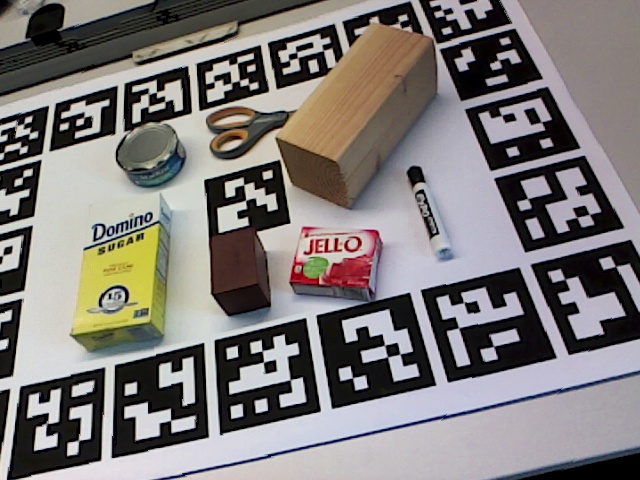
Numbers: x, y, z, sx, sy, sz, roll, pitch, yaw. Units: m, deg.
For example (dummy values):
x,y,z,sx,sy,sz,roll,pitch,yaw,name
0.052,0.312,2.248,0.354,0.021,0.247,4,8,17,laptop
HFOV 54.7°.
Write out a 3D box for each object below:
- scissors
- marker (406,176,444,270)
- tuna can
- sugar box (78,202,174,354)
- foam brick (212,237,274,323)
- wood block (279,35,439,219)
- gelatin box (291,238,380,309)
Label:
x,y,z,sx,sy,sz,roll,pitch,yaw,name
-0.061,-0.146,0.832,0.203,0.016,0.088,-9,57,12,scissors
0.118,-0.023,0.703,0.020,0.019,0.121,-13,59,7,marker
-0.229,-0.103,0.836,0.086,0.033,0.086,-7,58,11,tuna can
-0.229,0.042,0.744,0.093,0.045,0.177,-10,57,8,sugar box
-0.086,0.046,0.694,0.053,0.051,0.078,-13,57,7,foam brick
0.055,-0.140,0.756,0.090,0.090,0.206,26,68,28,wood block
0.018,0.035,0.689,0.090,0.030,0.073,2,60,16,gelatin box
